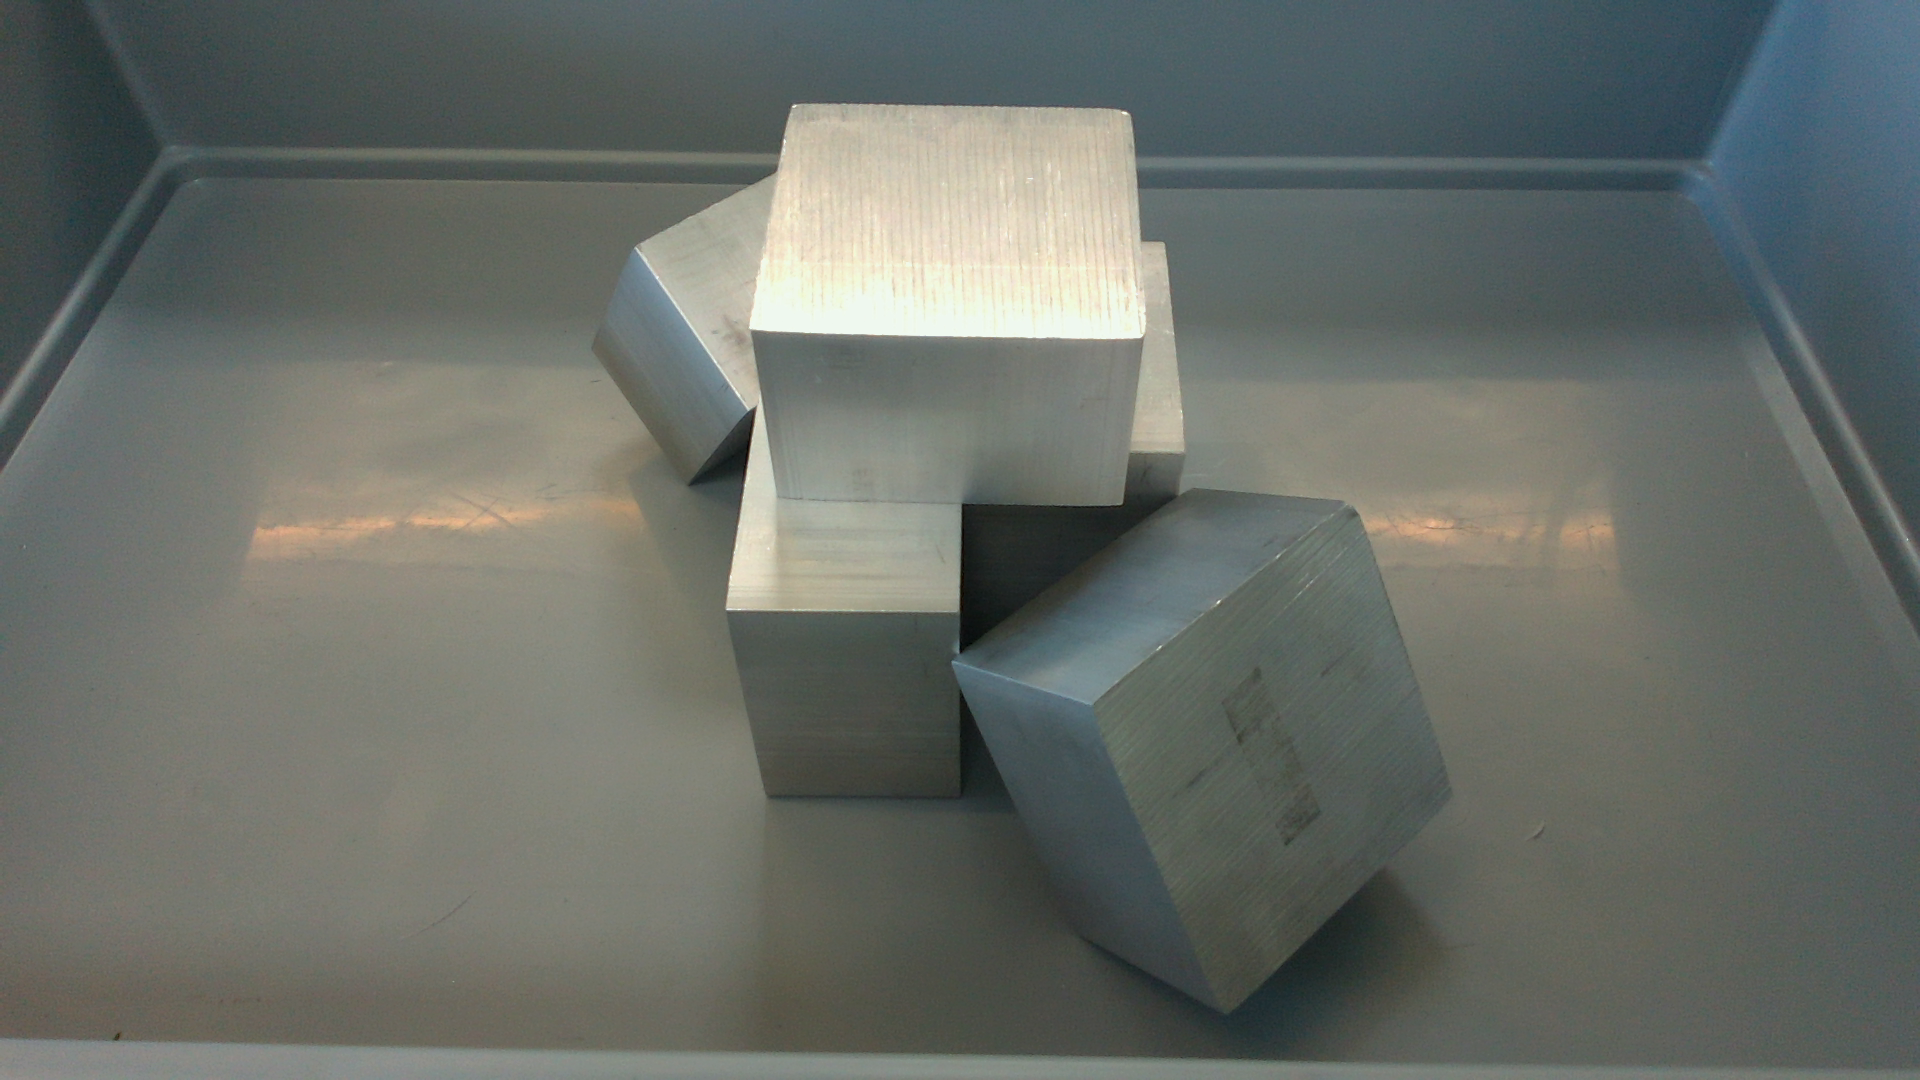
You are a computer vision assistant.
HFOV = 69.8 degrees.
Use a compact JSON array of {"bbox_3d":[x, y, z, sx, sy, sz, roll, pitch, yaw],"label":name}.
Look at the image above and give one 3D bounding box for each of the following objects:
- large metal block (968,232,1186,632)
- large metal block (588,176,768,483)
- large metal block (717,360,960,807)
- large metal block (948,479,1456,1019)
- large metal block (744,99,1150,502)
[{"bbox_3d":[0.028,-0.027,0.376,0.050,0.080,0.080,1,49,1],"label":"large metal block"},{"bbox_3d":[-0.054,-0.067,0.401,0.080,0.080,0.050,-35,93,-26],"label":"large metal block"},{"bbox_3d":[-0.025,0.011,0.345,0.050,0.080,0.080,1,49,1],"label":"large metal block"},{"bbox_3d":[0.056,0.042,0.309,0.080,0.080,0.050,-34,22,-25],"label":"large metal block"},{"bbox_3d":[-0.001,-0.056,0.316,0.080,0.050,0.080,1,50,1],"label":"large metal block"}]
